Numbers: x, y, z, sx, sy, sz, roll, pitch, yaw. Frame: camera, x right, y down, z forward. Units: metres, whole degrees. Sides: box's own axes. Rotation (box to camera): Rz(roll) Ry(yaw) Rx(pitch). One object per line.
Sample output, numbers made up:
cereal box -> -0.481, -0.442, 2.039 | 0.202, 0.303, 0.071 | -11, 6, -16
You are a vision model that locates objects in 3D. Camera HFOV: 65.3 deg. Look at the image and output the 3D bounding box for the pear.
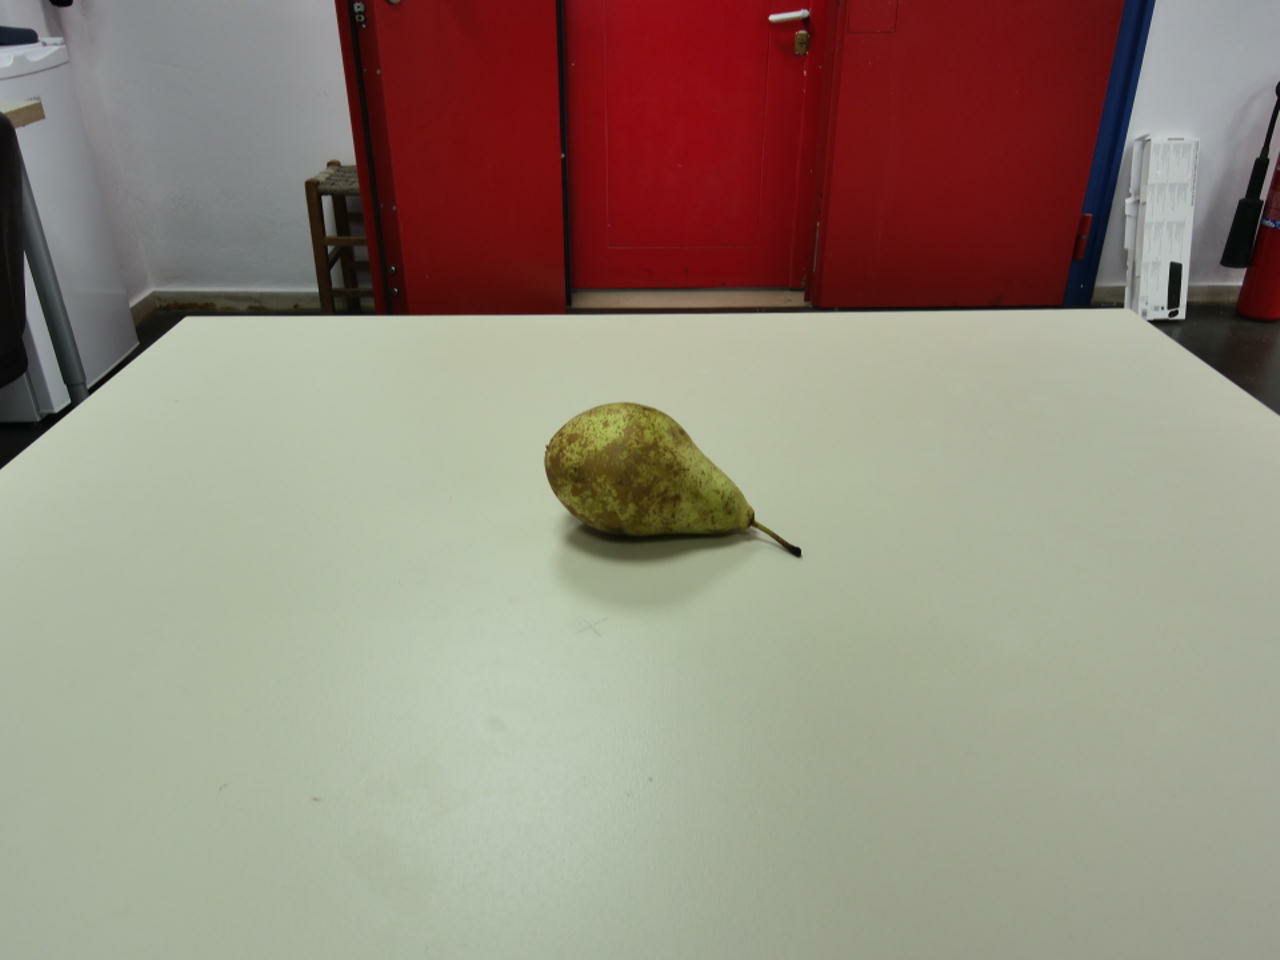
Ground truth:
pear -> 0.014, -0.005, 0.531 | 0.128, 0.075, 0.071 | -4, 26, -7
